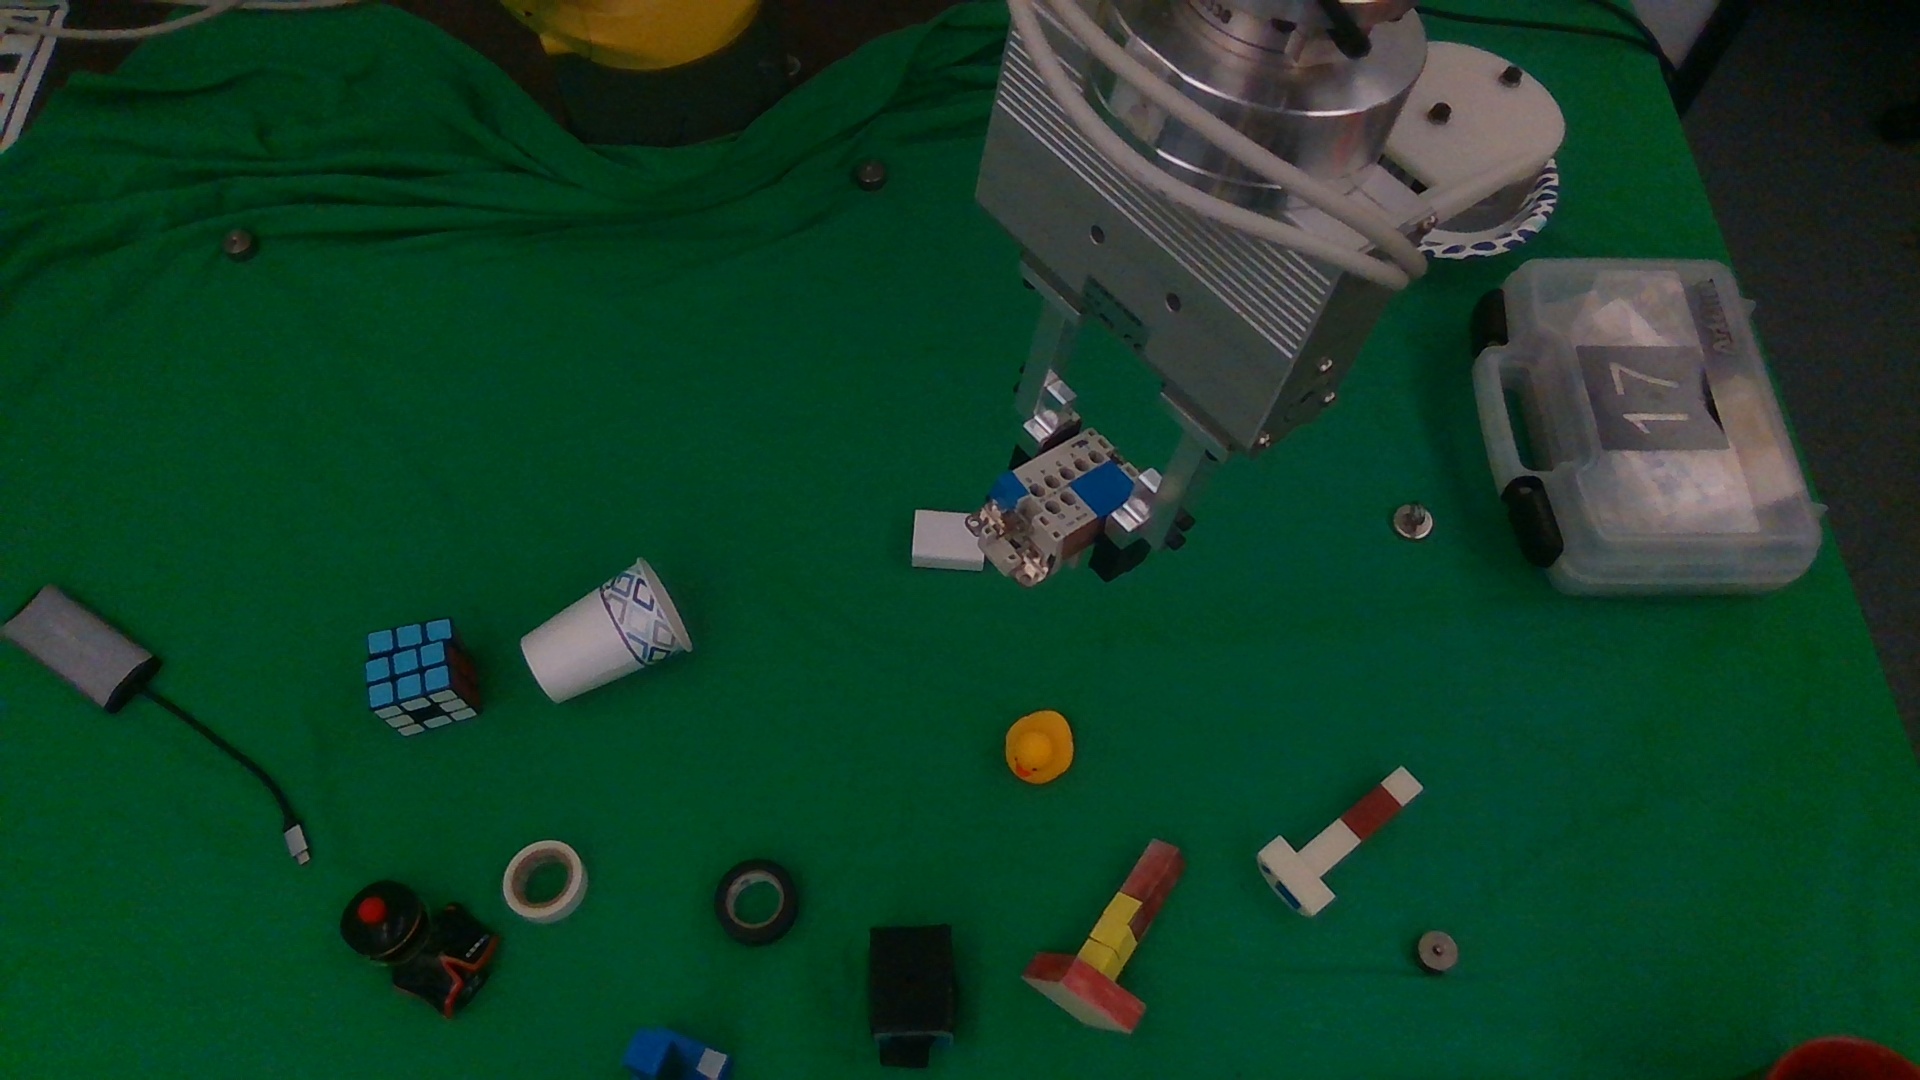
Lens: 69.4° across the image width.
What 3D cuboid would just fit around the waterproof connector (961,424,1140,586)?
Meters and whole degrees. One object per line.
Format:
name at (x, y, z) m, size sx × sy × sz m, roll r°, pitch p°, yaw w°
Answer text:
waterproof connector at (0.034, -0.010, 0.477) m, size 0.065 × 0.037 × 0.035 m, roll -31°, pitch 67°, yaw -27°

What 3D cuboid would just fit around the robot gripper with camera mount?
robot gripper with camera mount at (0.103, -0.096, 0.464) m, size 0.193 × 0.158 × 0.119 m, roll -34°, pitch 63°, yaw -30°
